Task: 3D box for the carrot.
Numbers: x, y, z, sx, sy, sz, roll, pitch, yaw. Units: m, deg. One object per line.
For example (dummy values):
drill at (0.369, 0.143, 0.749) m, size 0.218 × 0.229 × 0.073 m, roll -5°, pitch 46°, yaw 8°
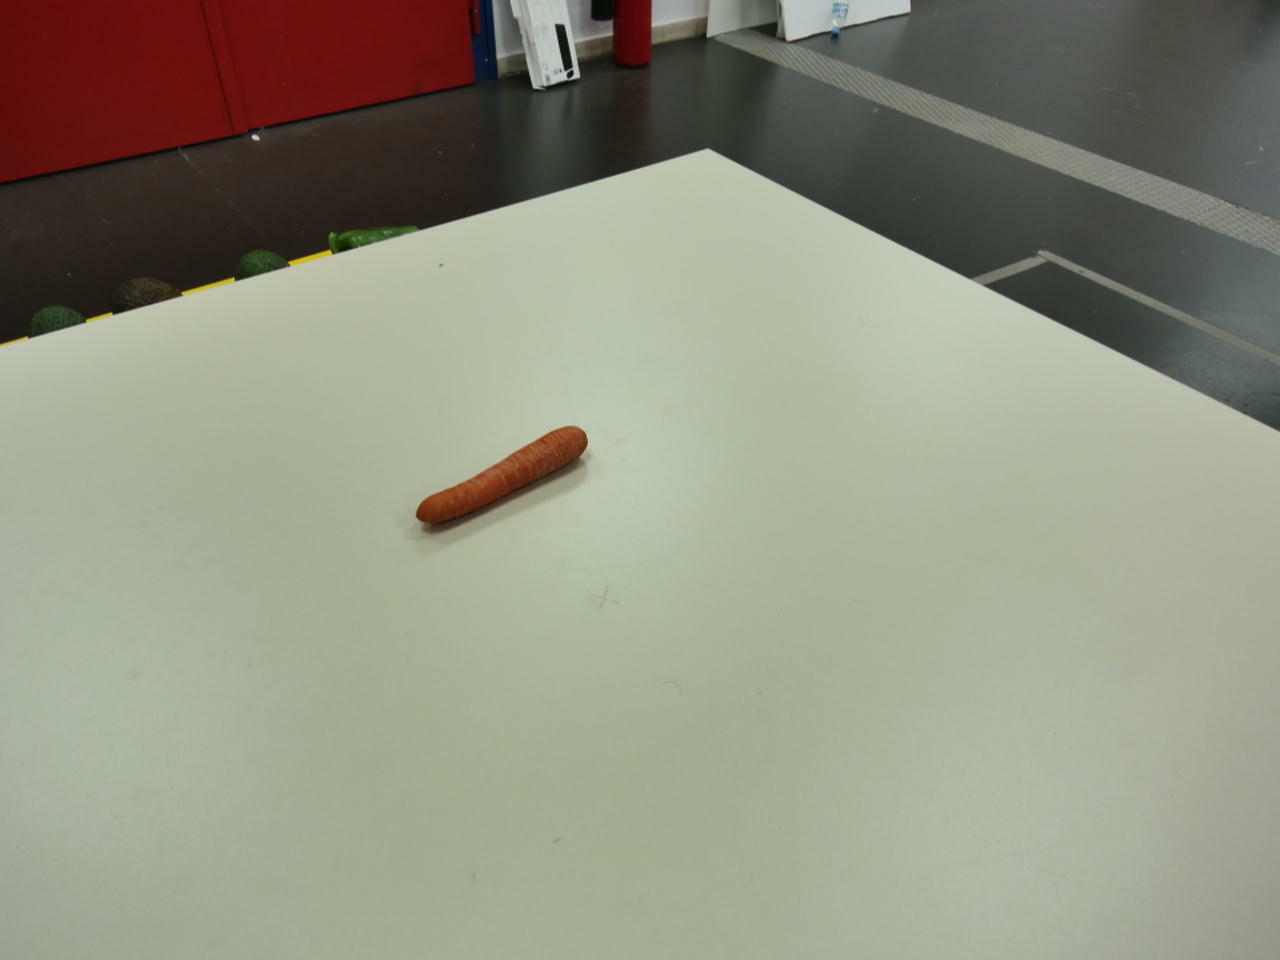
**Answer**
carrot at (-0.082, -0.004, 0.609) m, size 0.122 × 0.023 × 0.024 m, roll -27°, pitch 46°, yaw -30°
